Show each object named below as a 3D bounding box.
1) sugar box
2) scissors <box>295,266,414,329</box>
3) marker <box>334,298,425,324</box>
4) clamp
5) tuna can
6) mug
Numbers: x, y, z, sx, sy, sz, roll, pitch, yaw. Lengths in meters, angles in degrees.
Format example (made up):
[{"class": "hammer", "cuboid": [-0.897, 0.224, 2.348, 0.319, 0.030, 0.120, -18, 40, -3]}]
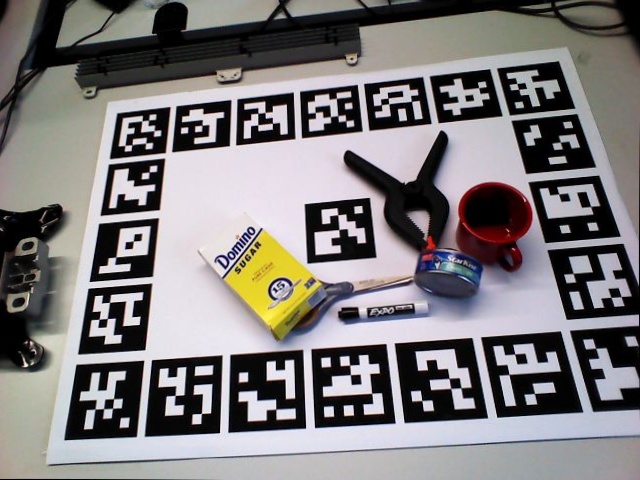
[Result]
[{"class": "sugar box", "cuboid": [-0.078, 0.046, 0.725, 0.092, 0.045, 0.176, -39, 60, -12]}, {"class": "scissors", "cuboid": [0.032, 0.063, 0.720, 0.203, 0.016, 0.087, -15, 60, -1]}, {"class": "marker", "cuboid": [0.079, 0.097, 0.700, 0.121, 0.020, 0.019, -9, 65, 4]}, {"class": "clamp", "cuboid": [0.140, -0.069, 0.773, 0.166, 0.037, 0.202, -15, 65, 0]}, {"class": "tuna can", "cuboid": [0.175, 0.042, 0.677, 0.086, 0.086, 0.033, 10, 66, 12]}, {"class": "mug", "cuboid": [0.232, -0.010, 0.699, 0.093, 0.081, 0.117, -30, 61, -8]}]
